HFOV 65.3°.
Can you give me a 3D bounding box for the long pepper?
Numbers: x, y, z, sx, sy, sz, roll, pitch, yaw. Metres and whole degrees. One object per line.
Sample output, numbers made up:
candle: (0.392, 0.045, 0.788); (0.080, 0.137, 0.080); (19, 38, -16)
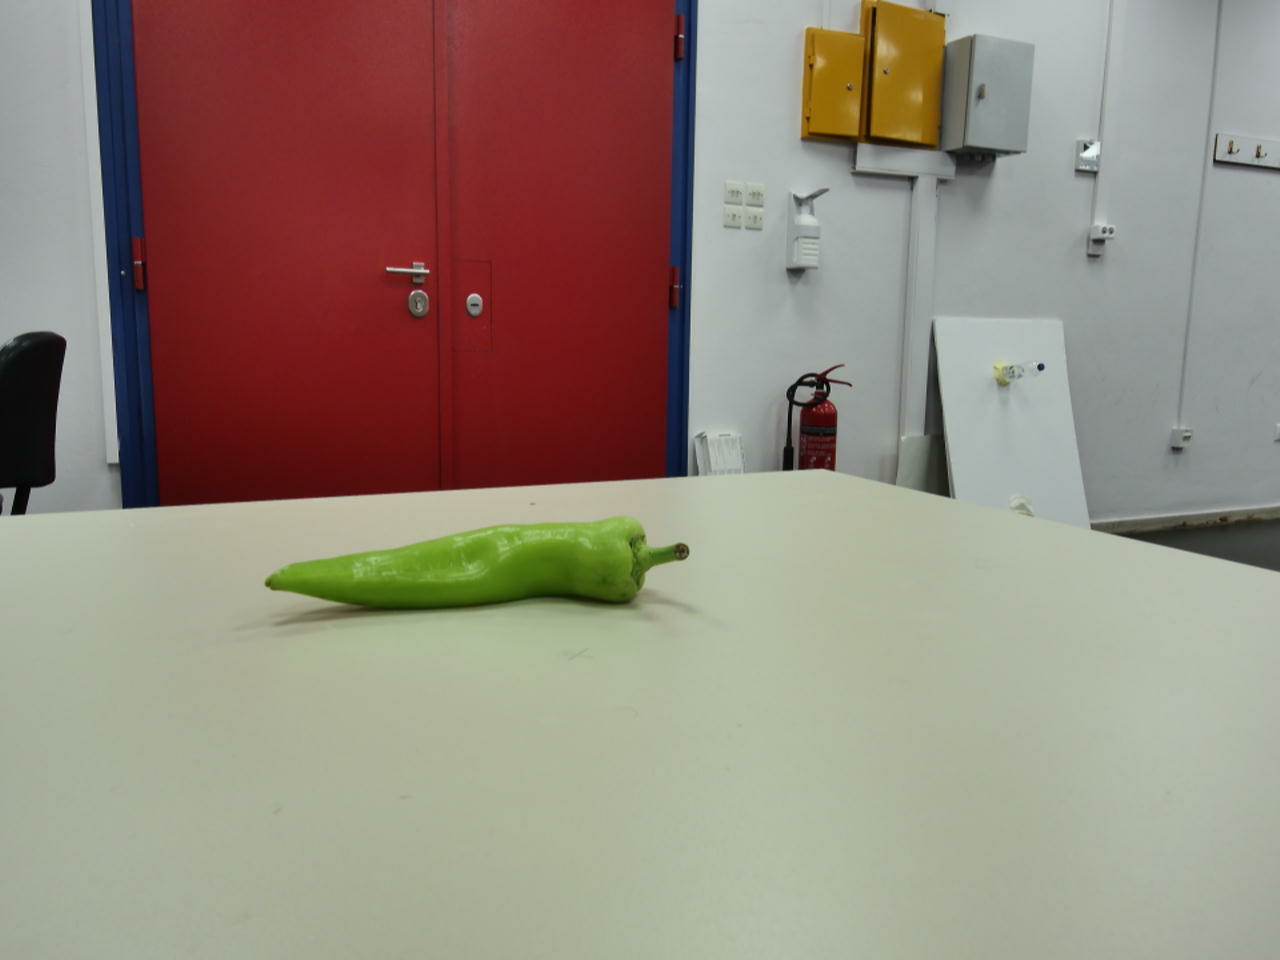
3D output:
long pepper: (-0.080, 0.044, 0.518); (0.204, 0.045, 0.065); (-1, 7, -9)
